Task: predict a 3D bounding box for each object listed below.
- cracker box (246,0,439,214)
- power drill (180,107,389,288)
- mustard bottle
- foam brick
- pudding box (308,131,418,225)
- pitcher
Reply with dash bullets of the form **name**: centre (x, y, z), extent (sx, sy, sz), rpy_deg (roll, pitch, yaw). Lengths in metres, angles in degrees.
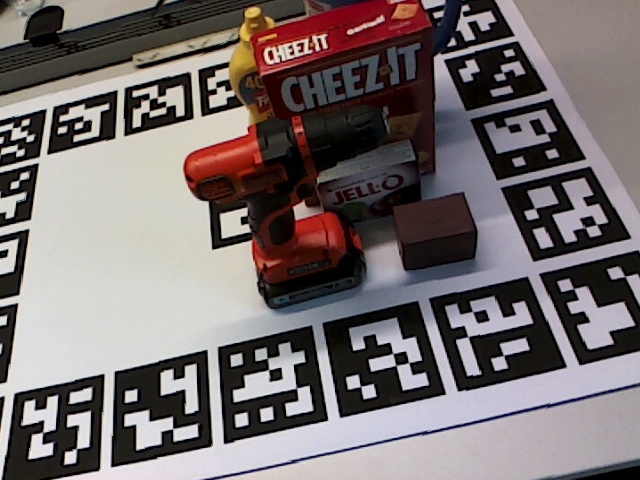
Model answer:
- **cracker box**: centre (0.034, -0.134, 0.658), extent (0.164, 0.212, 0.072), rpy_deg (-17, 54, 5)
- **power drill**: centre (-0.018, -0.036, 0.588), extent (0.184, 0.186, 0.057), rpy_deg (-14, 52, 2)
- **mustard bottle**: centre (-0.065, -0.193, 0.727), extent (0.096, 0.190, 0.058), rpy_deg (-3, 58, 11)
- **foam brick**: centre (0.117, -0.008, 0.662), extent (0.078, 0.051, 0.053), rpy_deg (-12, 58, 5)
- **pudding box**: centre (0.044, -0.064, 0.675), extent (0.114, 0.089, 0.039), rpy_deg (-14, 54, 7)
- **pitcher**: centre (0.062, -0.231, 0.709), extent (0.189, 0.241, 0.134), rpy_deg (-10, 56, 9)
